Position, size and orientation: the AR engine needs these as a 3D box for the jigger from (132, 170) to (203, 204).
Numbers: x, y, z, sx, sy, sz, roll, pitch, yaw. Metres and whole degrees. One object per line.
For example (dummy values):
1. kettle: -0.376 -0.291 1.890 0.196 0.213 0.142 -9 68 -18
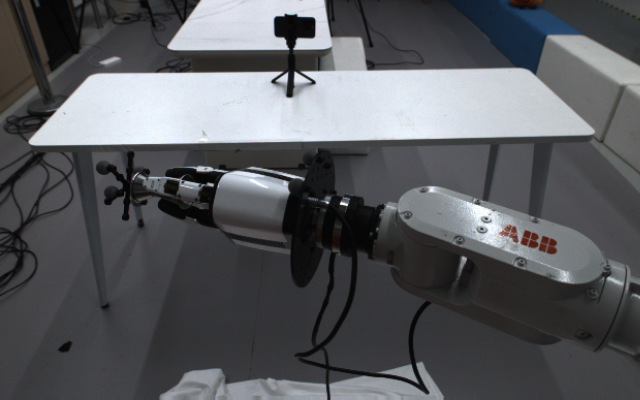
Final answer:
1. jigger: -0.191 -0.018 0.609 0.071 0.043 0.043 4 34 14
